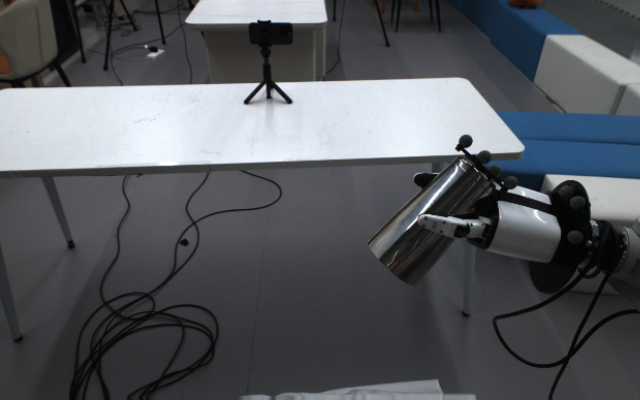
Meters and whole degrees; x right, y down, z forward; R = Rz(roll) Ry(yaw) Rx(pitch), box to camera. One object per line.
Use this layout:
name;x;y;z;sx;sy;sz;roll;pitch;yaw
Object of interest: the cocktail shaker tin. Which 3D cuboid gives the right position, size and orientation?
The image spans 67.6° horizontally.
cocktail shaker tin;0.156;0.021;0.664;0.093;0.170;0.093;41;12;-11
